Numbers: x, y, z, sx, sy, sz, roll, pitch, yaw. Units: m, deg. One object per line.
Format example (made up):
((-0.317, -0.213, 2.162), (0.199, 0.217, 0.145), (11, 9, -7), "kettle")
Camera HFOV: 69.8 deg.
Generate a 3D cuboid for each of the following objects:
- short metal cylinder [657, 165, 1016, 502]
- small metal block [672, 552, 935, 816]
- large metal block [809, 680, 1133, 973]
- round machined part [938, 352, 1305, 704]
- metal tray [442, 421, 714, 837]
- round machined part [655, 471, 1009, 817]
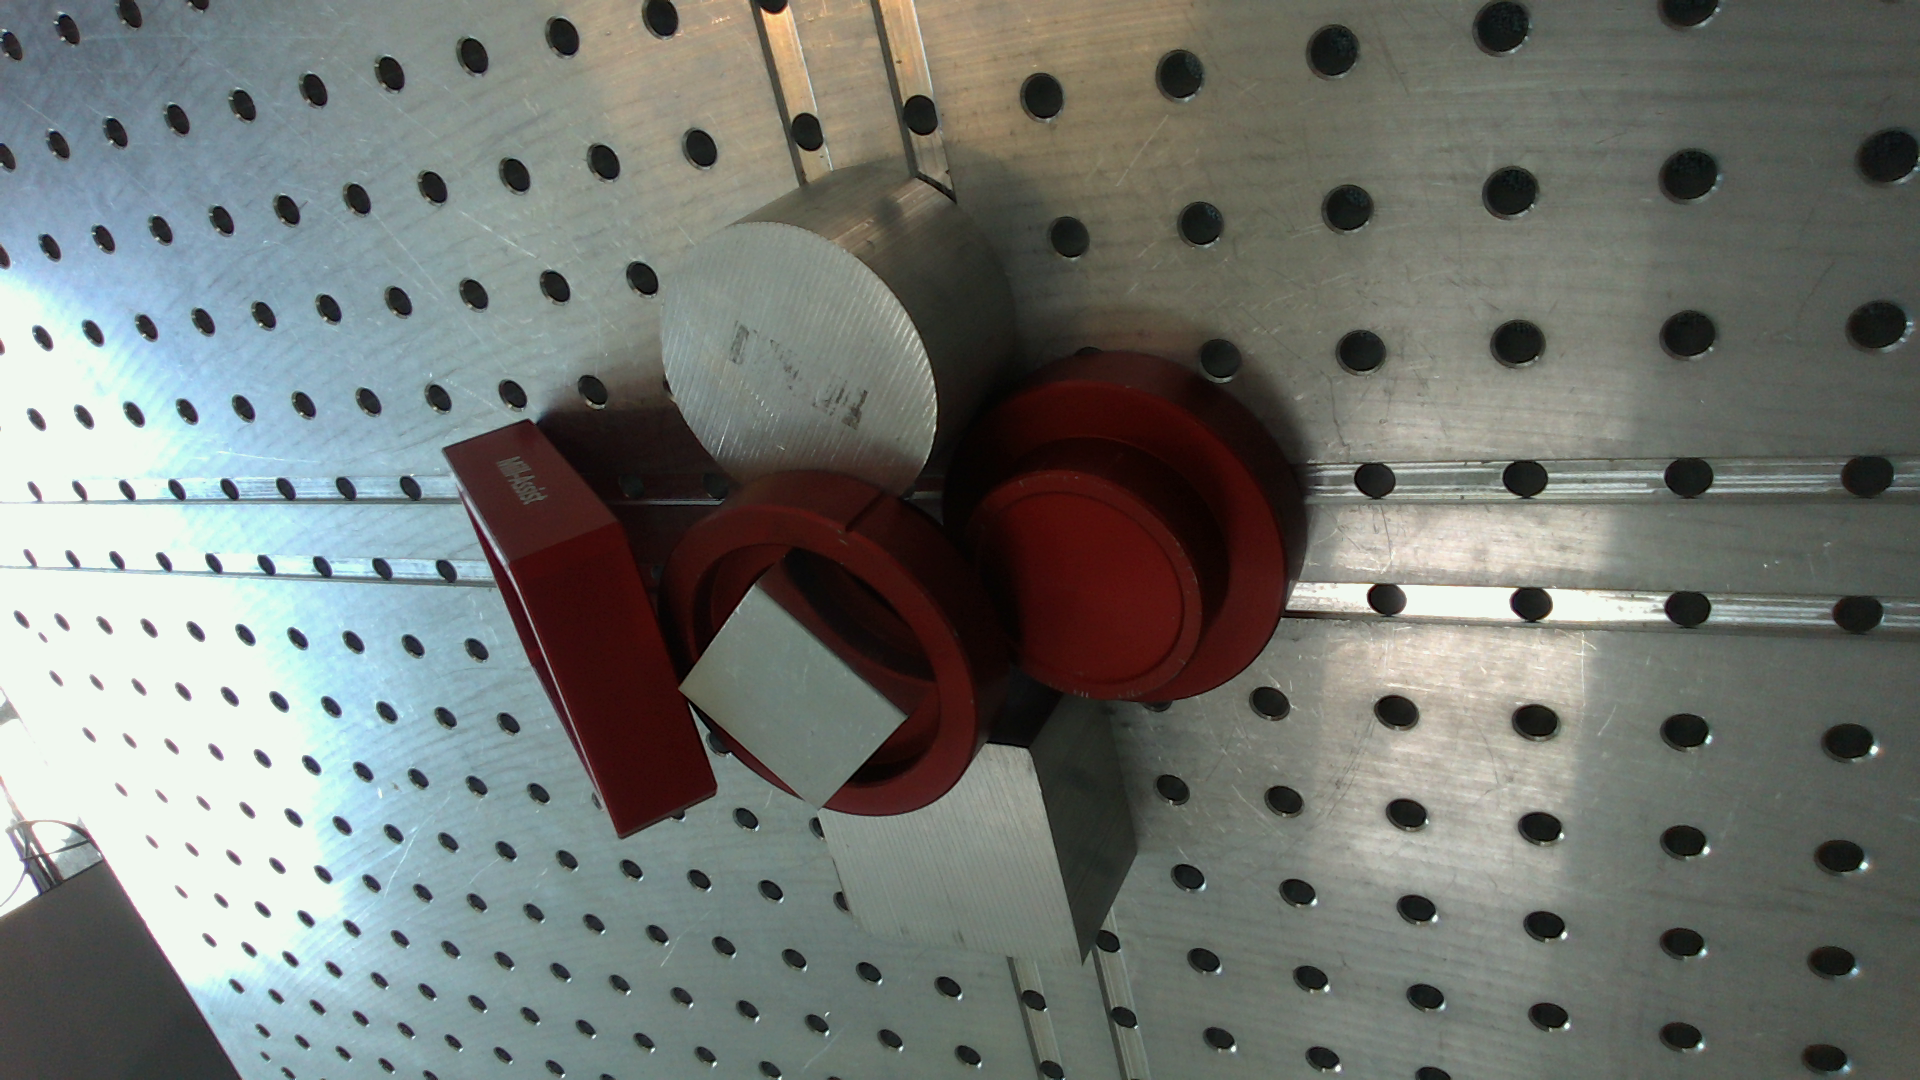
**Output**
((-0.032, -0.053, 0.364), (0.080, 0.050, 0.080), (13, 124, 21), "short metal cylinder")
((-0.040, 0.036, 0.360), (0.050, 0.025, 0.050), (41, 129, 0), "small metal block")
((0.001, 0.079, 0.425), (0.080, 0.050, 0.080), (1, 119, 28), "large metal block")
((0.038, 0.003, 0.365), (0.098, 0.042, 0.098), (13, 124, 21), "round machined part")
((-0.121, 0.022, 0.424), (0.130, 0.030, 0.090), (34, 142, 57), "metal tray")
((-0.031, 0.025, 0.379), (0.098, 0.042, 0.098), (13, 124, 21), "round machined part")
